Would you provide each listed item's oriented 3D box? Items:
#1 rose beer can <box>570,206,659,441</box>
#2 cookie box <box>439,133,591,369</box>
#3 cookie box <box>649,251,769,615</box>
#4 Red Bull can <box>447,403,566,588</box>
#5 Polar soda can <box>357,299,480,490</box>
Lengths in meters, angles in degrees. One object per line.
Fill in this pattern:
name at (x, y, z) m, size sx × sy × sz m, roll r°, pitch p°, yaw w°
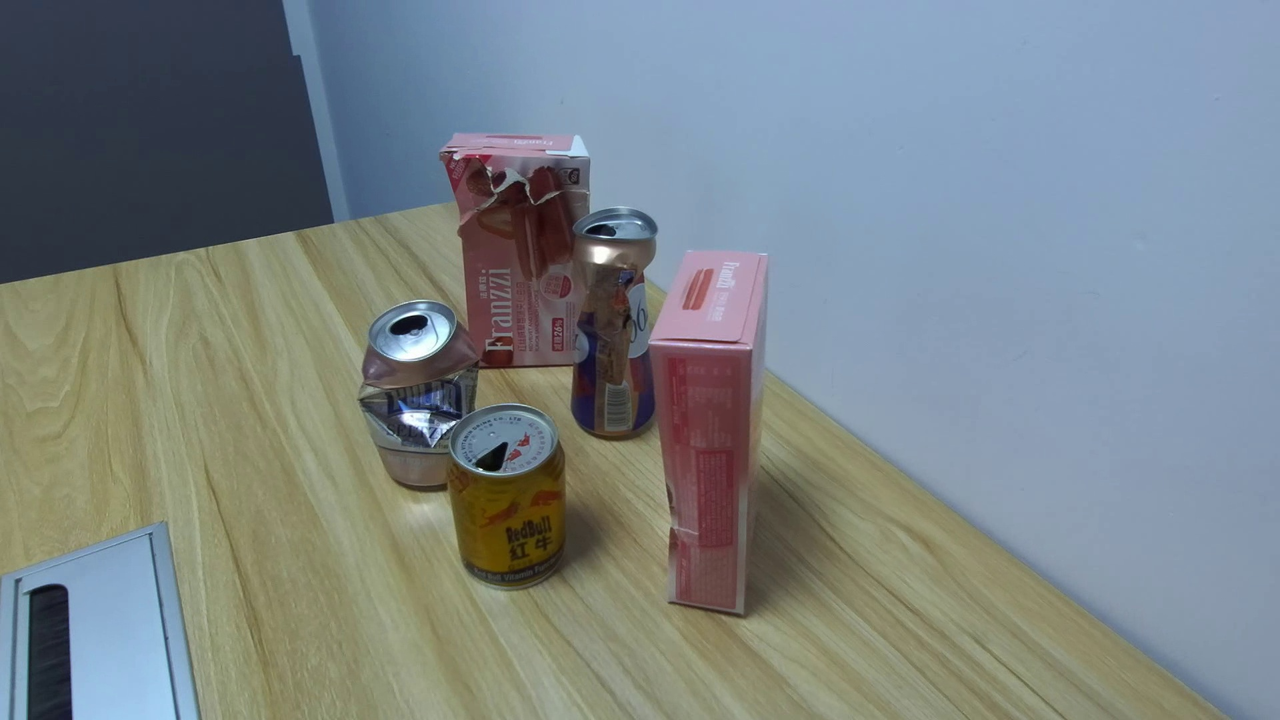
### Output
rose beer can at (-0.016, -0.021, 0.498) m, size 0.068 × 0.162 × 0.073 m, roll -12°, pitch 33°, yaw -21°
cookie box at (-0.092, -0.079, 0.558) m, size 0.105 × 0.186 × 0.059 m, roll -1°, pitch 34°, yaw -5°
cookie box at (0.042, 0.046, 0.391) m, size 0.049 × 0.188 × 0.105 m, roll 4°, pitch 34°, yaw 12°
Red Bull can at (-0.077, 0.080, 0.415) m, size 0.069 × 0.092 × 0.069 m, roll 2°, pitch 34°, yaw -1°
Polar soda can at (-0.144, 0.027, 0.466) m, size 0.071 × 0.122 × 0.066 m, roll -26°, pitch 47°, yaw -32°
